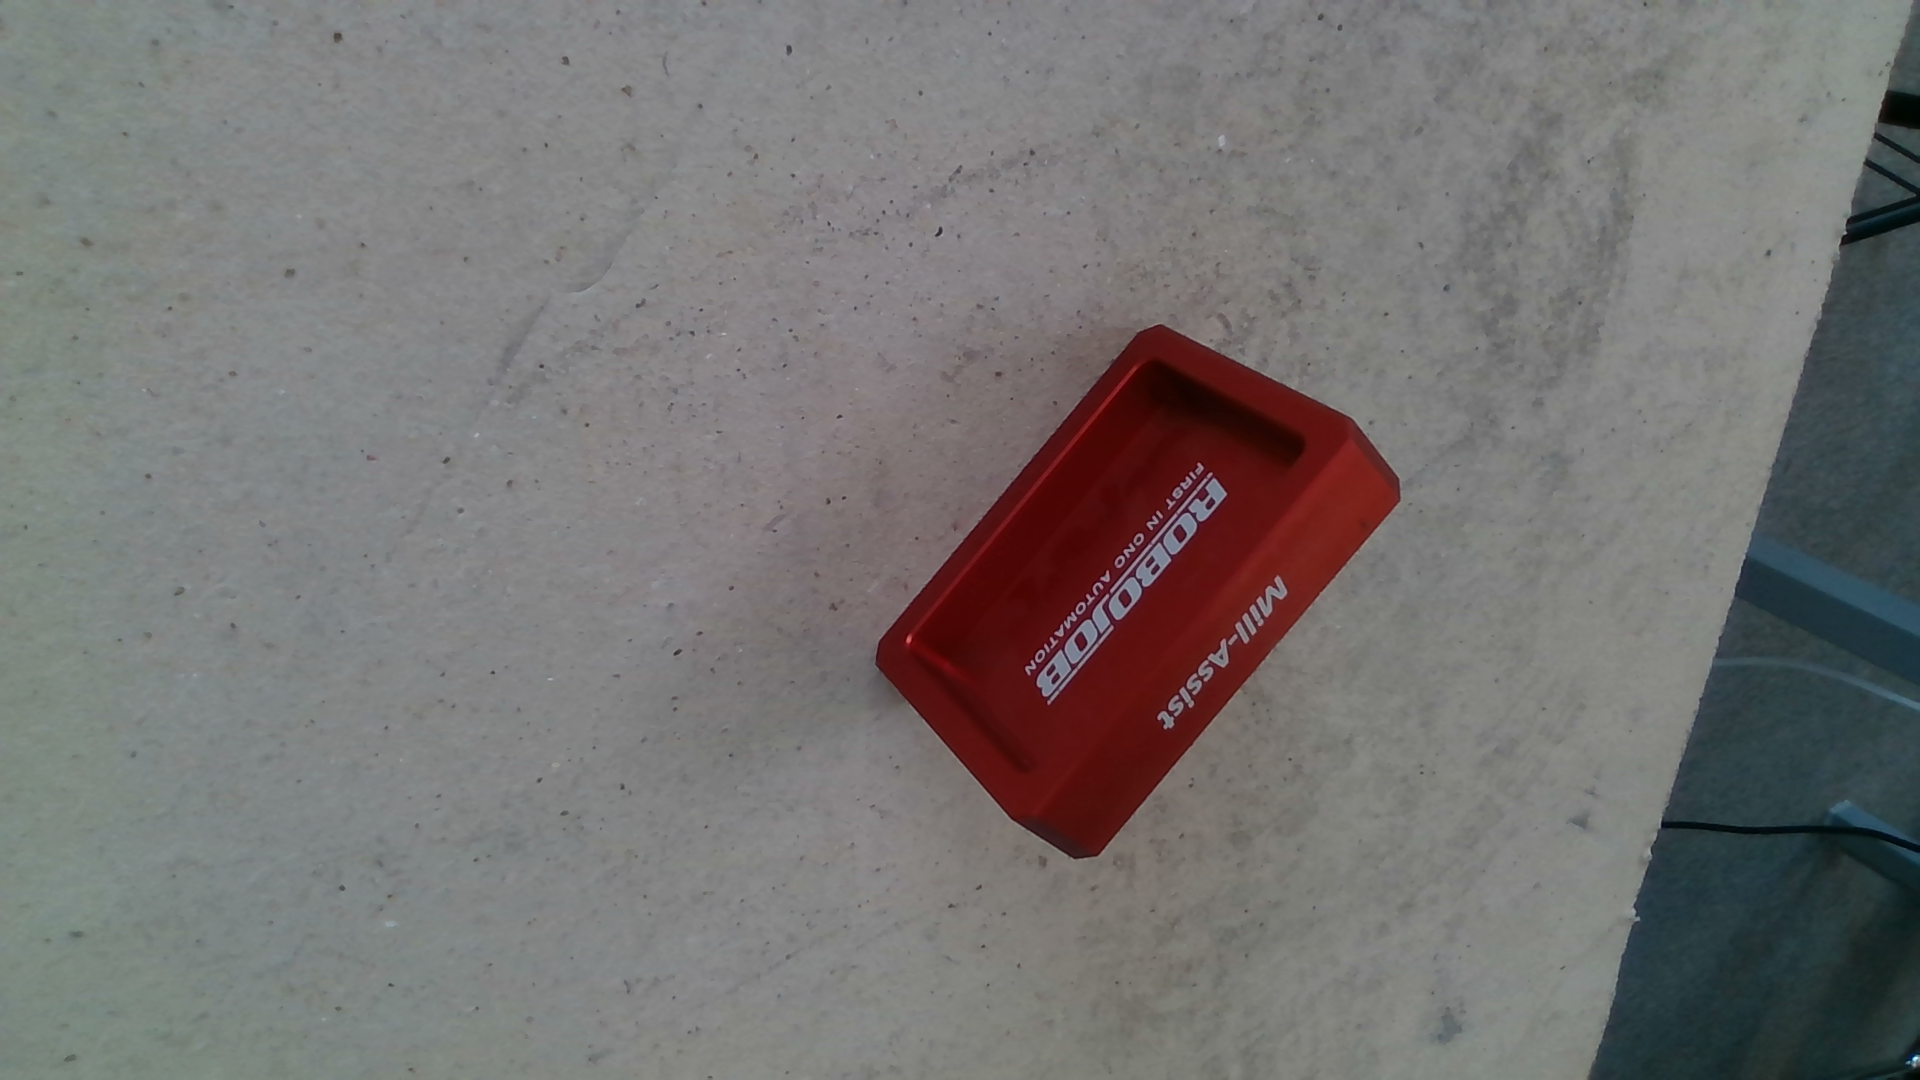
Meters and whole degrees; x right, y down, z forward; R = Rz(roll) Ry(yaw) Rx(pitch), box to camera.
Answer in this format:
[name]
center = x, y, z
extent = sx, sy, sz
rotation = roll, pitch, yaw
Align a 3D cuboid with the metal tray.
[metal tray]
center = 0.044, 0.010, 0.379
extent = 0.130, 0.090, 0.030
rotation = -50, 129, 1
